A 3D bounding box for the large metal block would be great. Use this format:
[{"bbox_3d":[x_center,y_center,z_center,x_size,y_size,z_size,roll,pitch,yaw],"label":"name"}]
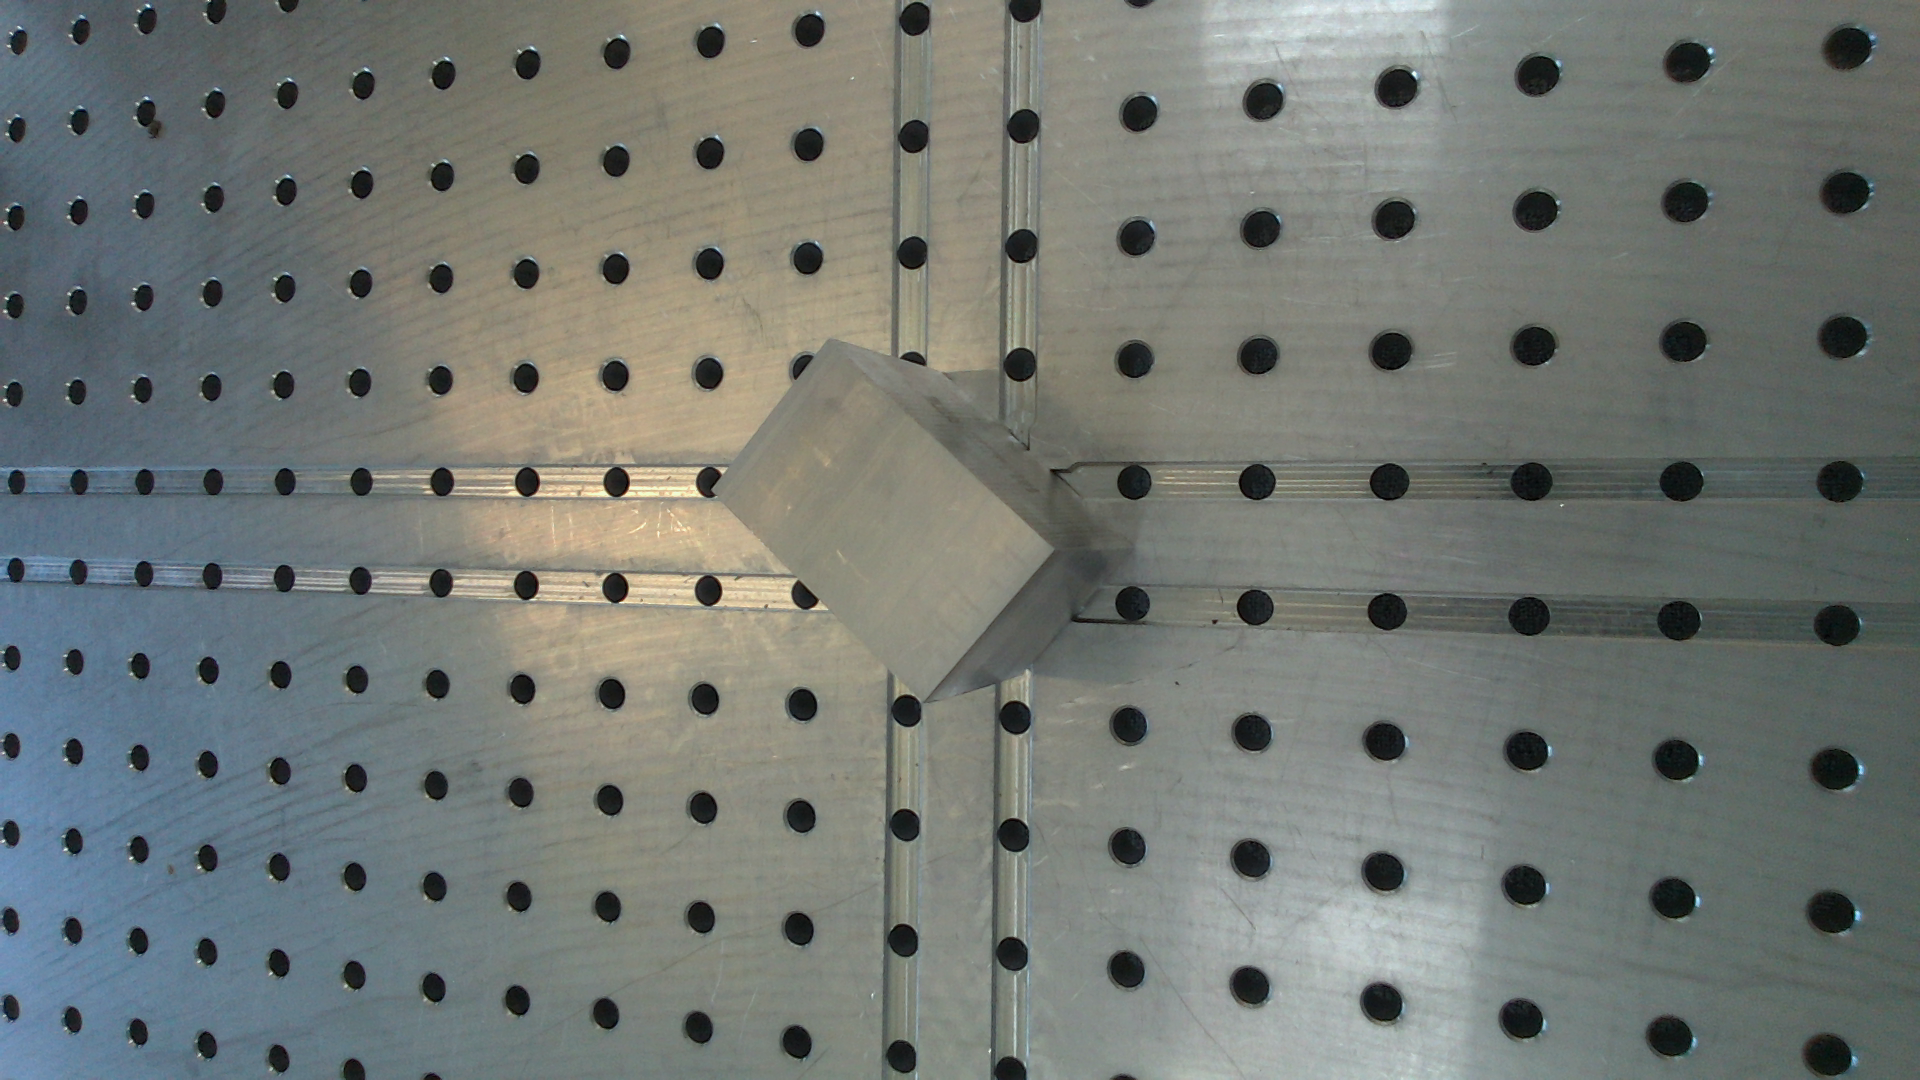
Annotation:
[{"bbox_3d":[-0.007,-0.006,0.371,0.080,0.080,0.050,43,104,14],"label":"large metal block"}]
